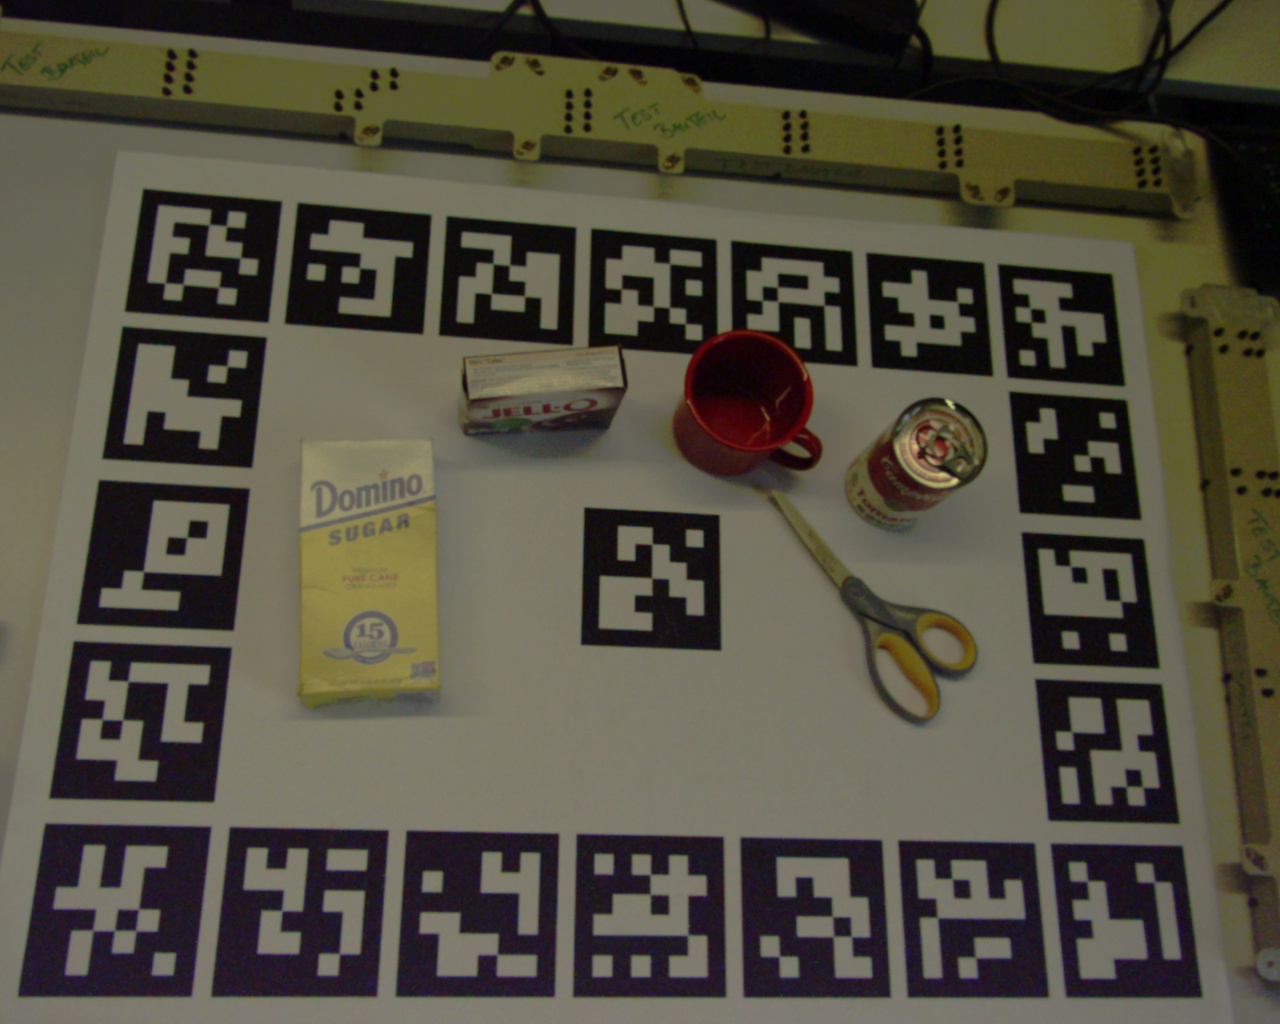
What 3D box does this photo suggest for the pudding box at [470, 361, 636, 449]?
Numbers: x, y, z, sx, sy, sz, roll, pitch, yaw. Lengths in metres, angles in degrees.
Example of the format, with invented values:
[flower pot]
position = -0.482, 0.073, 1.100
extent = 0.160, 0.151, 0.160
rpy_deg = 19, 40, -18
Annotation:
[pudding box]
position = -0.066, -0.078, 0.836
extent = 0.113, 0.090, 0.039
rpy_deg = -6, 84, -10

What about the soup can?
[soup can]
position = 0.194, -0.024, 0.863
extent = 0.067, 0.102, 0.068
rpy_deg = 2, 75, -8

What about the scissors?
[scissors]
position = 0.164, 0.075, 0.869
extent = 0.087, 0.016, 0.203
rpy_deg = -40, 85, -6

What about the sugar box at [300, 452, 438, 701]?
[sugar box]
position = -0.192, 0.046, 0.817
extent = 0.092, 0.045, 0.177
rpy_deg = 0, 77, -6

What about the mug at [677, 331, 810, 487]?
[mug]
position = 0.080, -0.069, 0.862
extent = 0.093, 0.081, 0.117
rpy_deg = -33, 81, -12
